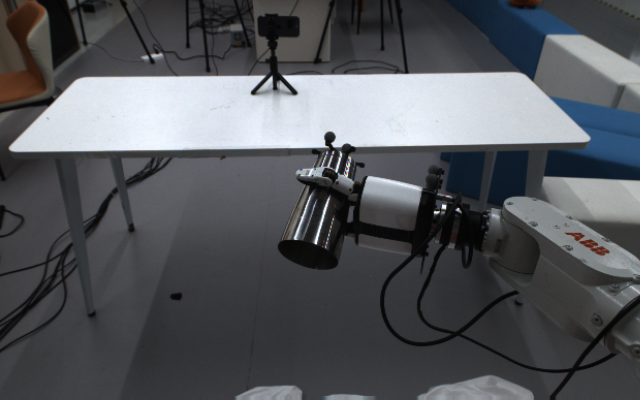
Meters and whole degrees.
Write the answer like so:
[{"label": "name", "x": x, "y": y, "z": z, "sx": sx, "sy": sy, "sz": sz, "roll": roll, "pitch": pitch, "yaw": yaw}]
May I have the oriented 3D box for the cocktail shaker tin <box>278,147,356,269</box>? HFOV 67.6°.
[{"label": "cocktail shaker tin", "x": 0.005, "y": 0.009, "z": 0.735, "sx": 0.093, "sy": 0.093, "sz": 0.170, "roll": 11, "pitch": 60, "yaw": 12}]
